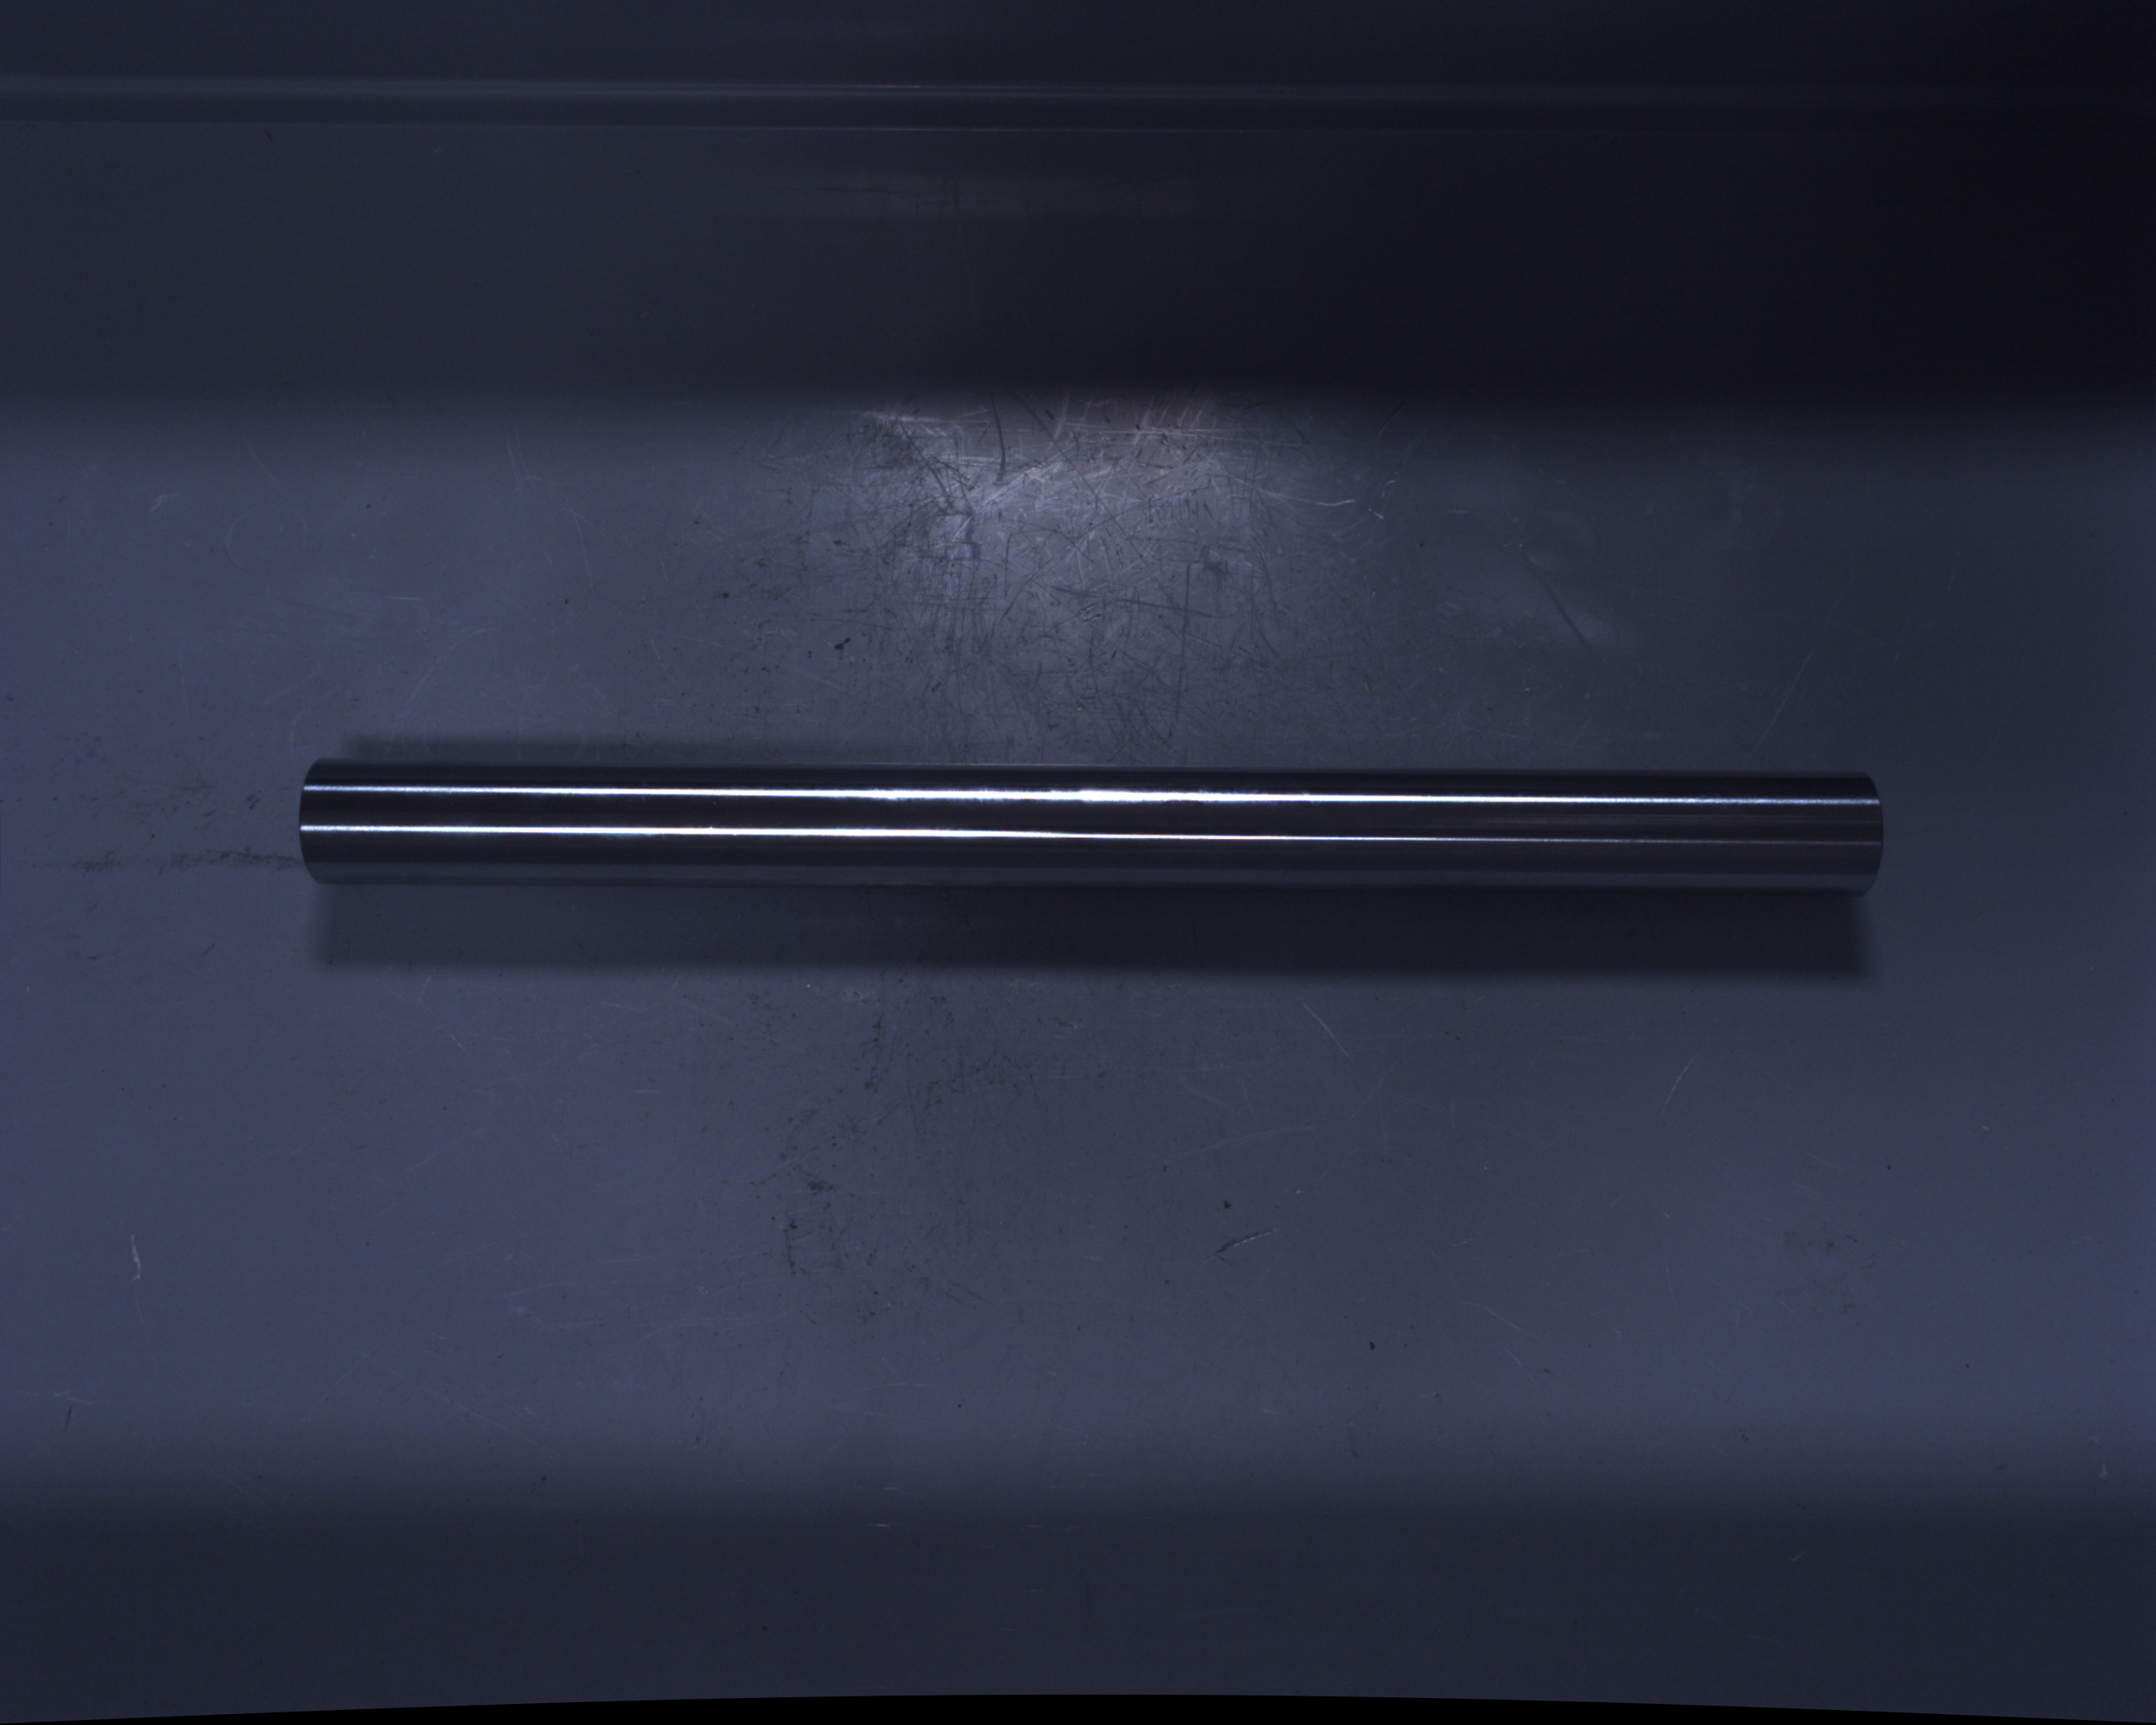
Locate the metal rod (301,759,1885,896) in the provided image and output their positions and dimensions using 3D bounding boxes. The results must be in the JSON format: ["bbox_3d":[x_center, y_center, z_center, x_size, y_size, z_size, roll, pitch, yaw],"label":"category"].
[{"bbox_3d":[0.003,-0.007,0.410,0.302,0.025,0.025,0,70,-1],"label":"metal rod"}]
